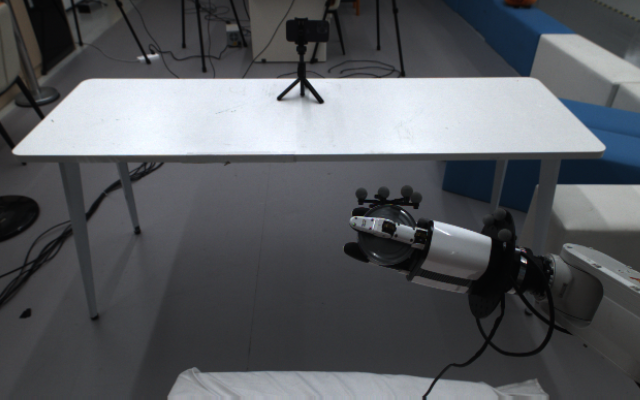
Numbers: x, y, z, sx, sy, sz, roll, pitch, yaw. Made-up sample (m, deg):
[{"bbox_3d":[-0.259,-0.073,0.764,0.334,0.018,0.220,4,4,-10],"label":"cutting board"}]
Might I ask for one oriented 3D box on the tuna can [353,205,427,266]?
[{"bbox_3d":[0.097,0.054,0.688,0.085,0.034,0.085,0,75,0],"label":"tuna can"}]
